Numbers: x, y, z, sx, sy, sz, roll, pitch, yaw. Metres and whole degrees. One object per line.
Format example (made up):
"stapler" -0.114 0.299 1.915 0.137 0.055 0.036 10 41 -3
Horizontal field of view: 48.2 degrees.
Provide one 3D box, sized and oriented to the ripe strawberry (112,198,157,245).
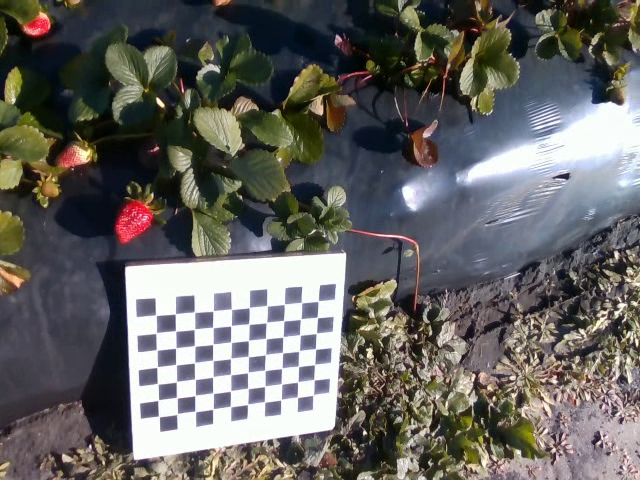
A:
"ripe strawberry" -0.227 -0.021 0.841 0.058 0.061 0.066 -33 -59 24
